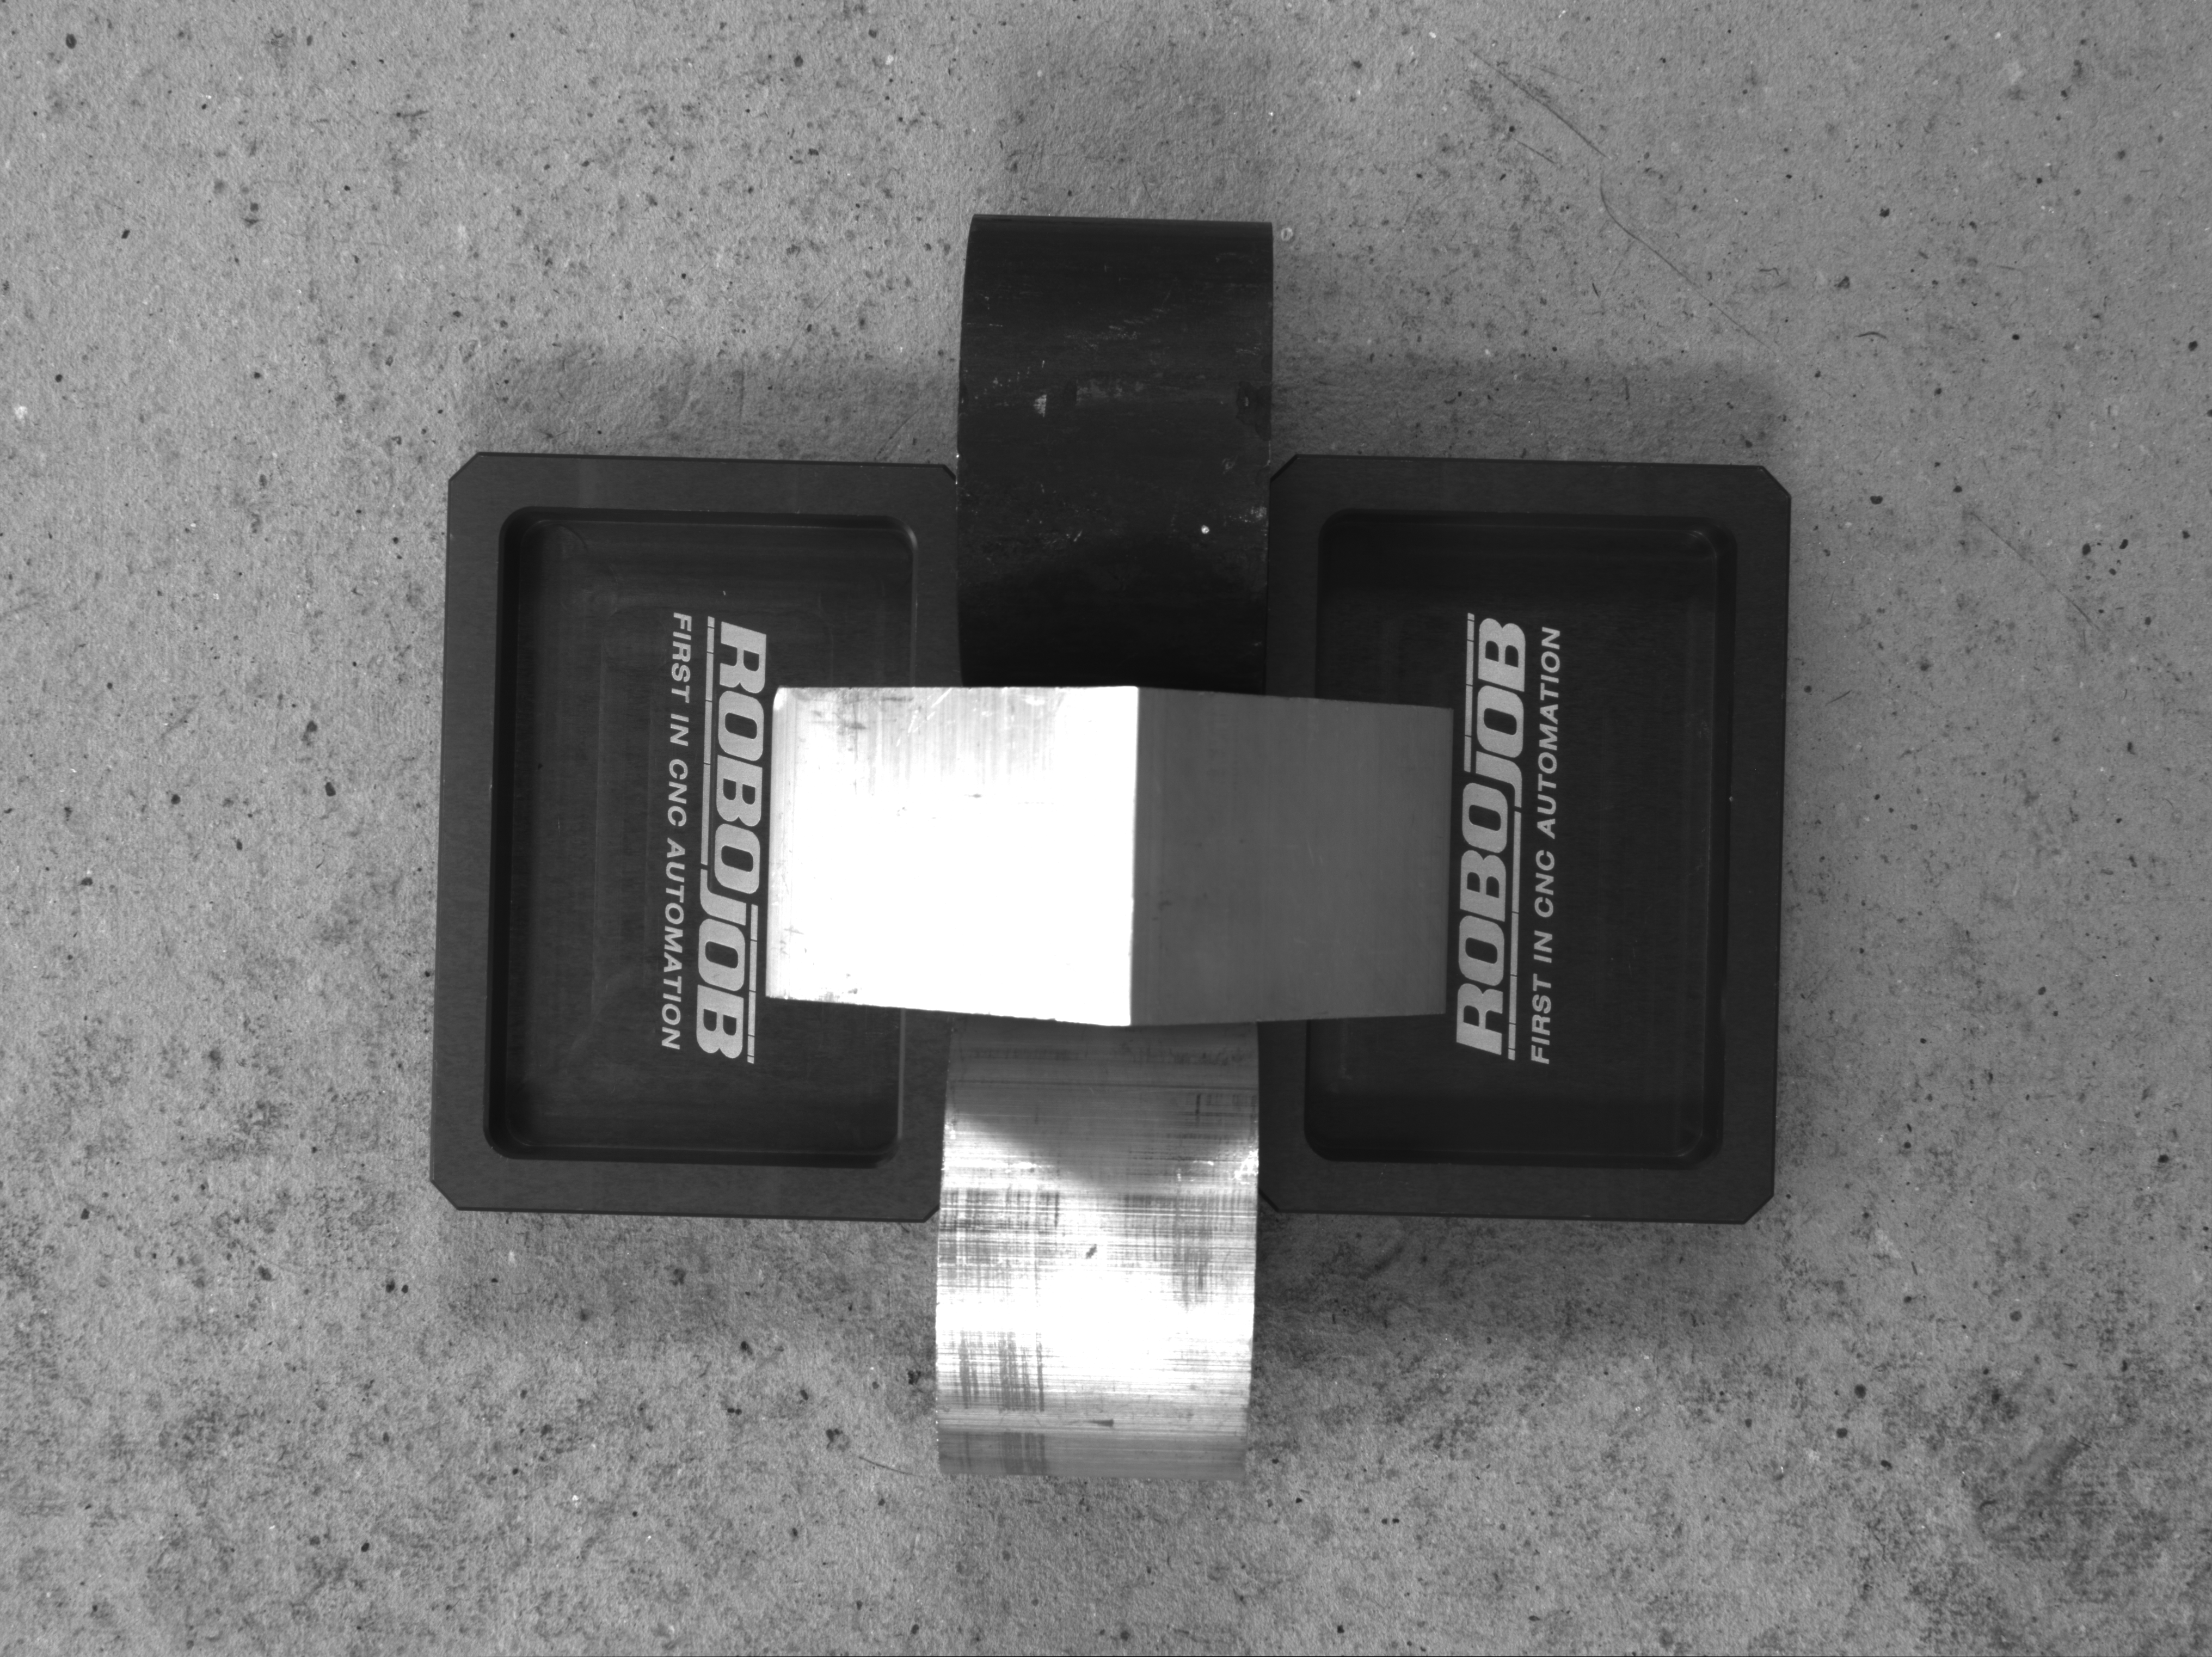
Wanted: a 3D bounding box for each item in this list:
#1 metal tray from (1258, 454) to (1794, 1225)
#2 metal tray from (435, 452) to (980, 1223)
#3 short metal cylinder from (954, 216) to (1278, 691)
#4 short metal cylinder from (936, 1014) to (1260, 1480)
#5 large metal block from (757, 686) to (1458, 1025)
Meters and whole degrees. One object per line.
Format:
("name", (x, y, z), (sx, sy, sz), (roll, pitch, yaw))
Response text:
("metal tray", (0.071, 0.002, 0.644), (0.090, 0.030, 0.130), (2, 90, 0))
("metal tray", (-0.068, 0.002, 0.644), (0.090, 0.030, 0.130), (2, 90, 0))
("short metal cylinder", (0.002, -0.062, 0.619), (0.050, 0.080, 0.080), (2, 90, 0))
("short metal cylinder", (-0.001, 0.069, 0.618), (0.050, 0.080, 0.080), (2, 90, 0))
("large metal block", (0.001, 0.003, 0.598), (0.080, 0.080, 0.050), (2, 91, 40))
